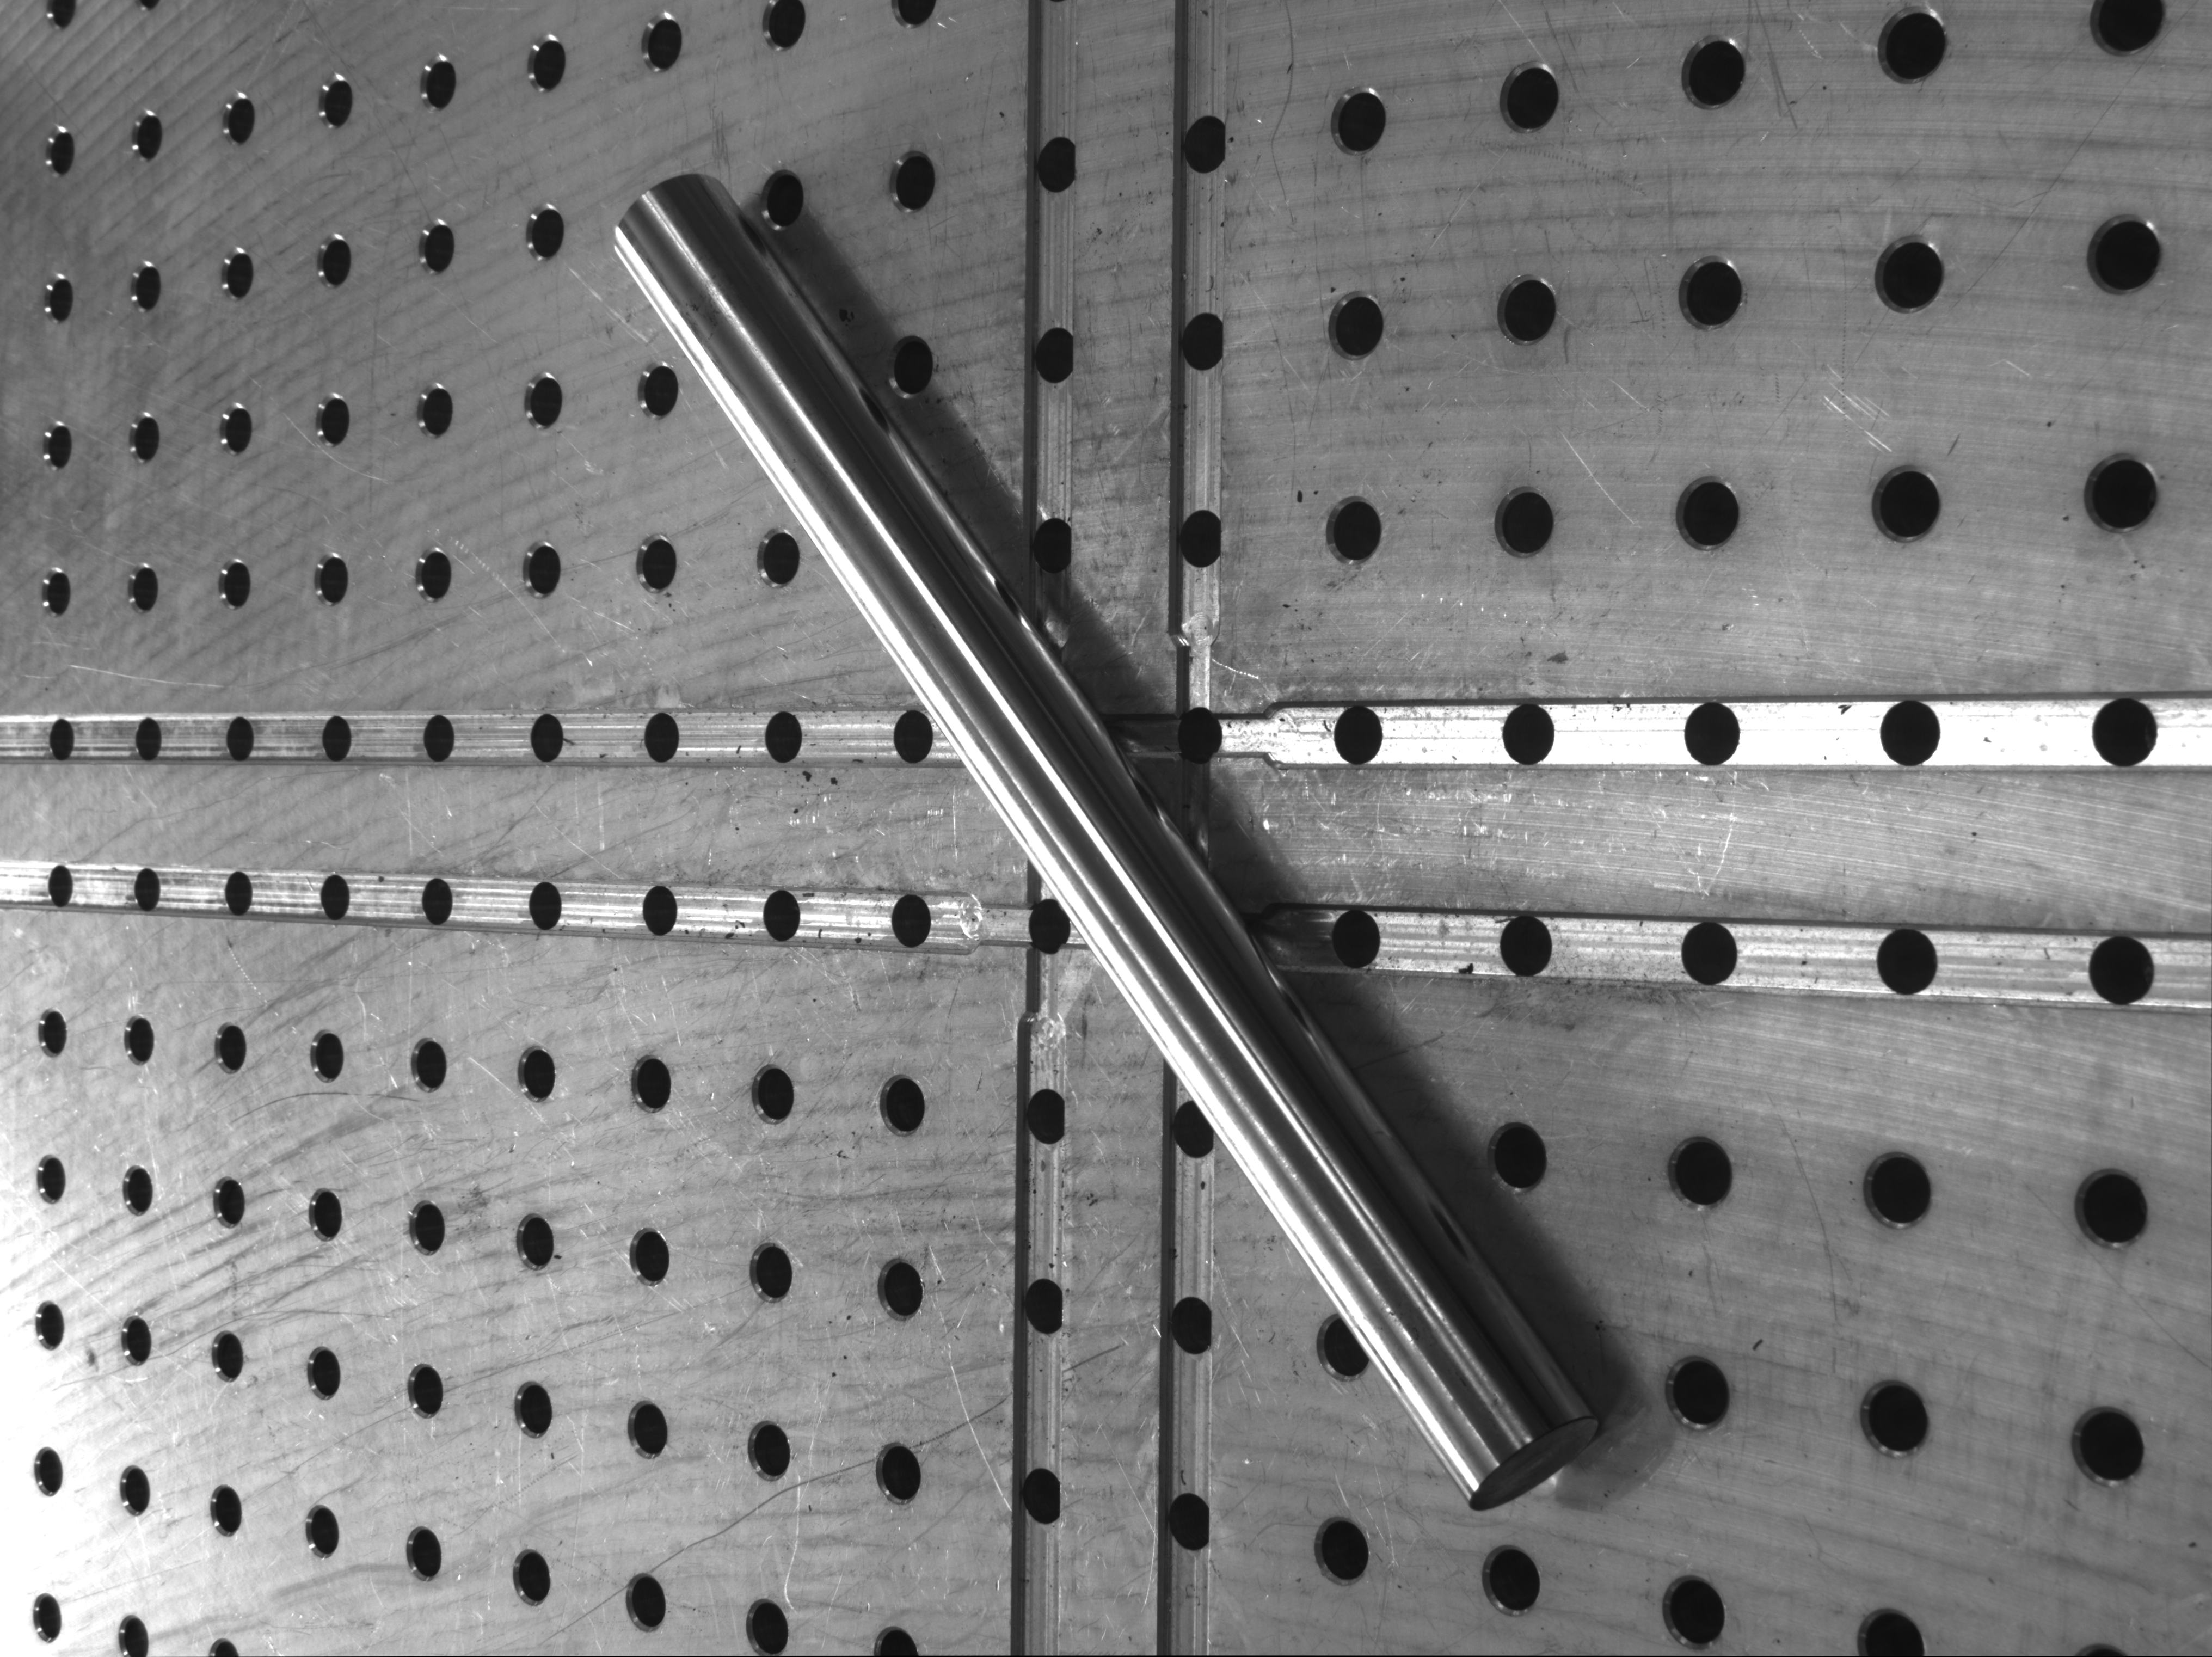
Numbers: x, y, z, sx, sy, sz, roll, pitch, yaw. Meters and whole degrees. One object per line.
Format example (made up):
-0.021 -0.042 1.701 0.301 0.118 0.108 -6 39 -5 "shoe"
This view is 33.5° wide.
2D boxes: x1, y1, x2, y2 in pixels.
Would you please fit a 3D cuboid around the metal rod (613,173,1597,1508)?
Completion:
-0.008 -0.009 0.656 0.025 0.025 0.299 -50 60 28 "metal rod"
